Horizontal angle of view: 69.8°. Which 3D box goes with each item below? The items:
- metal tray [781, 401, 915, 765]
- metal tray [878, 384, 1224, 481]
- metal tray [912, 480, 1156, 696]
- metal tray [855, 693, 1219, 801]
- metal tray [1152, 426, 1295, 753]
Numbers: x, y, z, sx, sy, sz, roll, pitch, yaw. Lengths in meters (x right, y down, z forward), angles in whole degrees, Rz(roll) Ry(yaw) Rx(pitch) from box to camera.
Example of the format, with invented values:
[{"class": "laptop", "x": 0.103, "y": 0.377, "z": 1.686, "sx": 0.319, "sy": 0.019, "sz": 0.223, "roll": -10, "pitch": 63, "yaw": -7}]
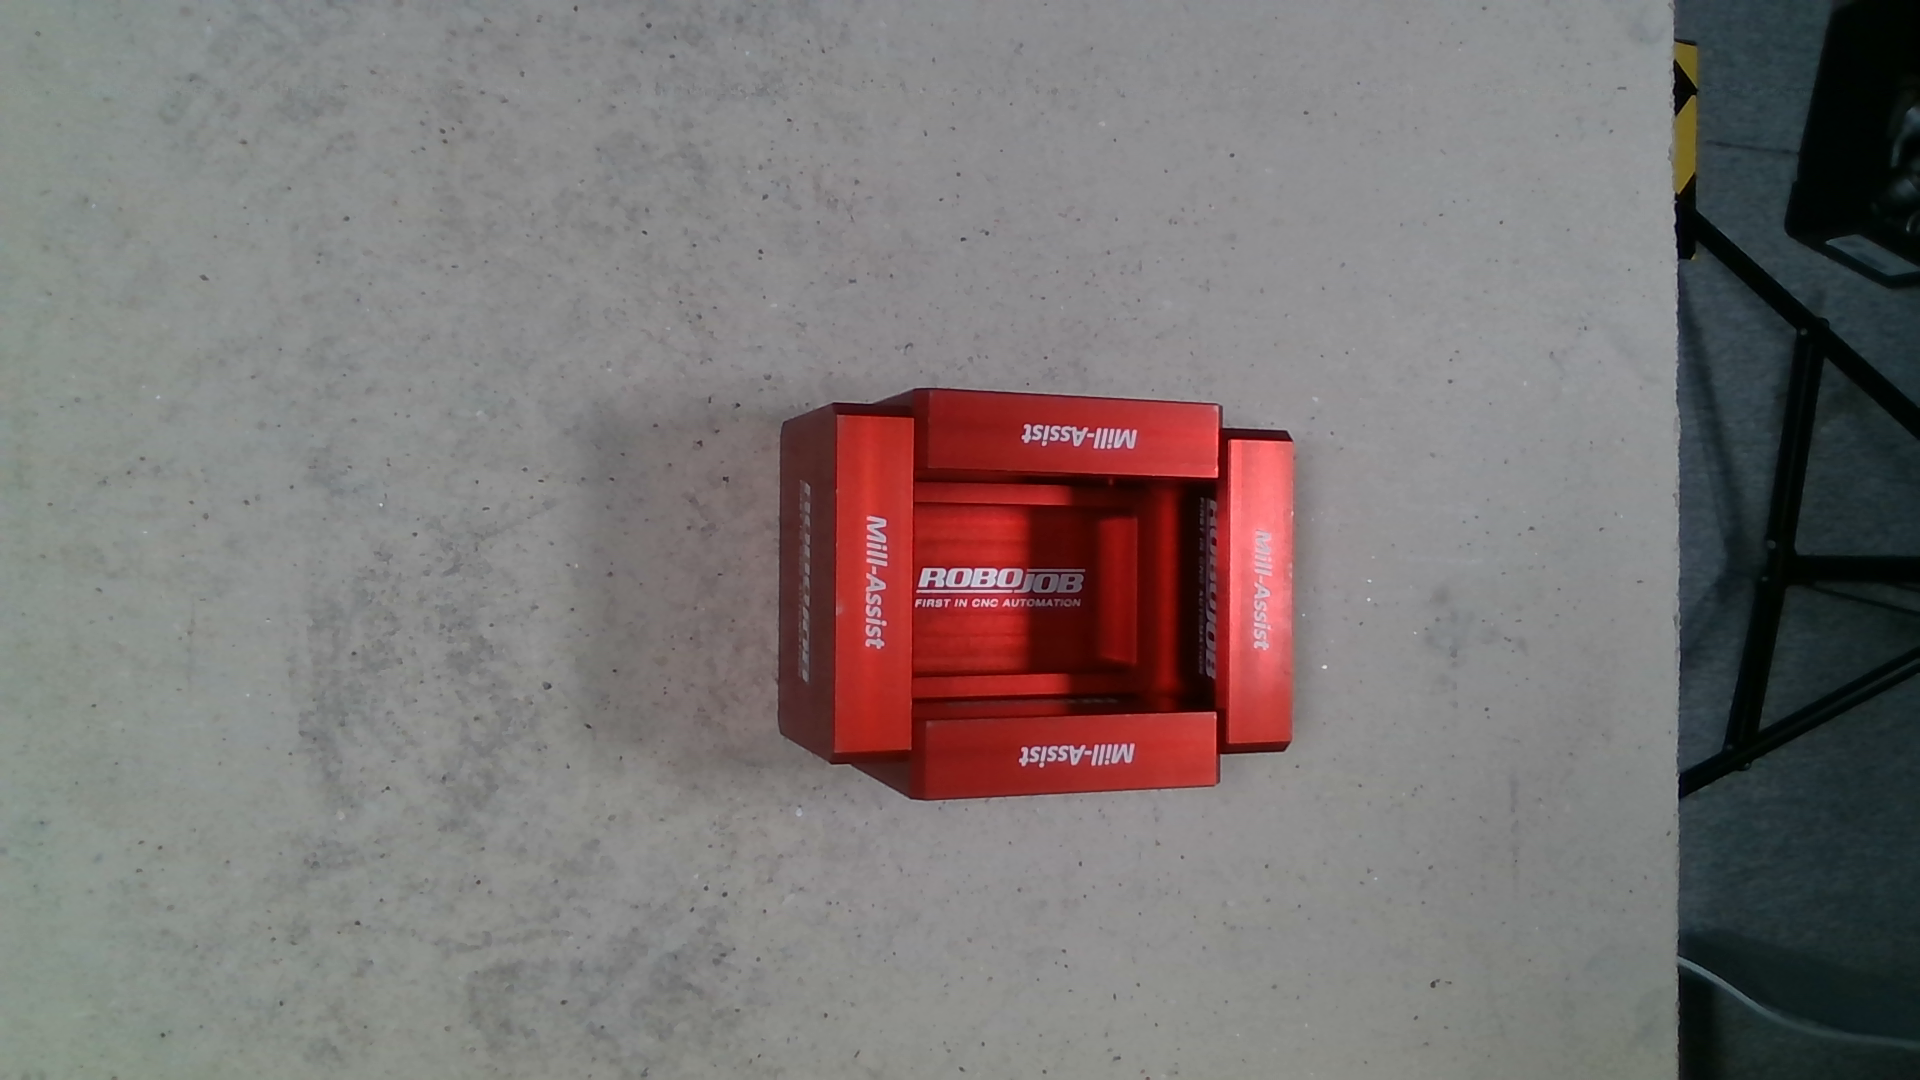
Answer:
[{"class": "metal tray", "x": -0.046, "y": 0.016, "z": 0.534, "sx": 0.030, "sy": 0.090, "sz": 0.130, "roll": 1, "pitch": 90, "yaw": -20}, {"class": "metal tray", "x": 0.030, "y": -0.041, "z": 0.562, "sx": 0.130, "sy": 0.090, "sz": 0.030, "roll": 1, "pitch": 90, "yaw": -20}, {"class": "metal tray", "x": 0.019, "y": 0.020, "z": 0.590, "sx": 0.130, "sy": 0.030, "sz": 0.090, "roll": 1, "pitch": 90, "yaw": -20}, {"class": "metal tray", "x": 0.029, "y": 0.081, "z": 0.562, "sx": 0.130, "sy": 0.090, "sz": 0.030, "roll": 1, "pitch": 90, "yaw": -20}, {"class": "metal tray", "x": 0.105, "y": 0.020, "z": 0.590, "sx": 0.030, "sy": 0.090, "sz": 0.130, "roll": 1, "pitch": 90, "yaw": -20}]
